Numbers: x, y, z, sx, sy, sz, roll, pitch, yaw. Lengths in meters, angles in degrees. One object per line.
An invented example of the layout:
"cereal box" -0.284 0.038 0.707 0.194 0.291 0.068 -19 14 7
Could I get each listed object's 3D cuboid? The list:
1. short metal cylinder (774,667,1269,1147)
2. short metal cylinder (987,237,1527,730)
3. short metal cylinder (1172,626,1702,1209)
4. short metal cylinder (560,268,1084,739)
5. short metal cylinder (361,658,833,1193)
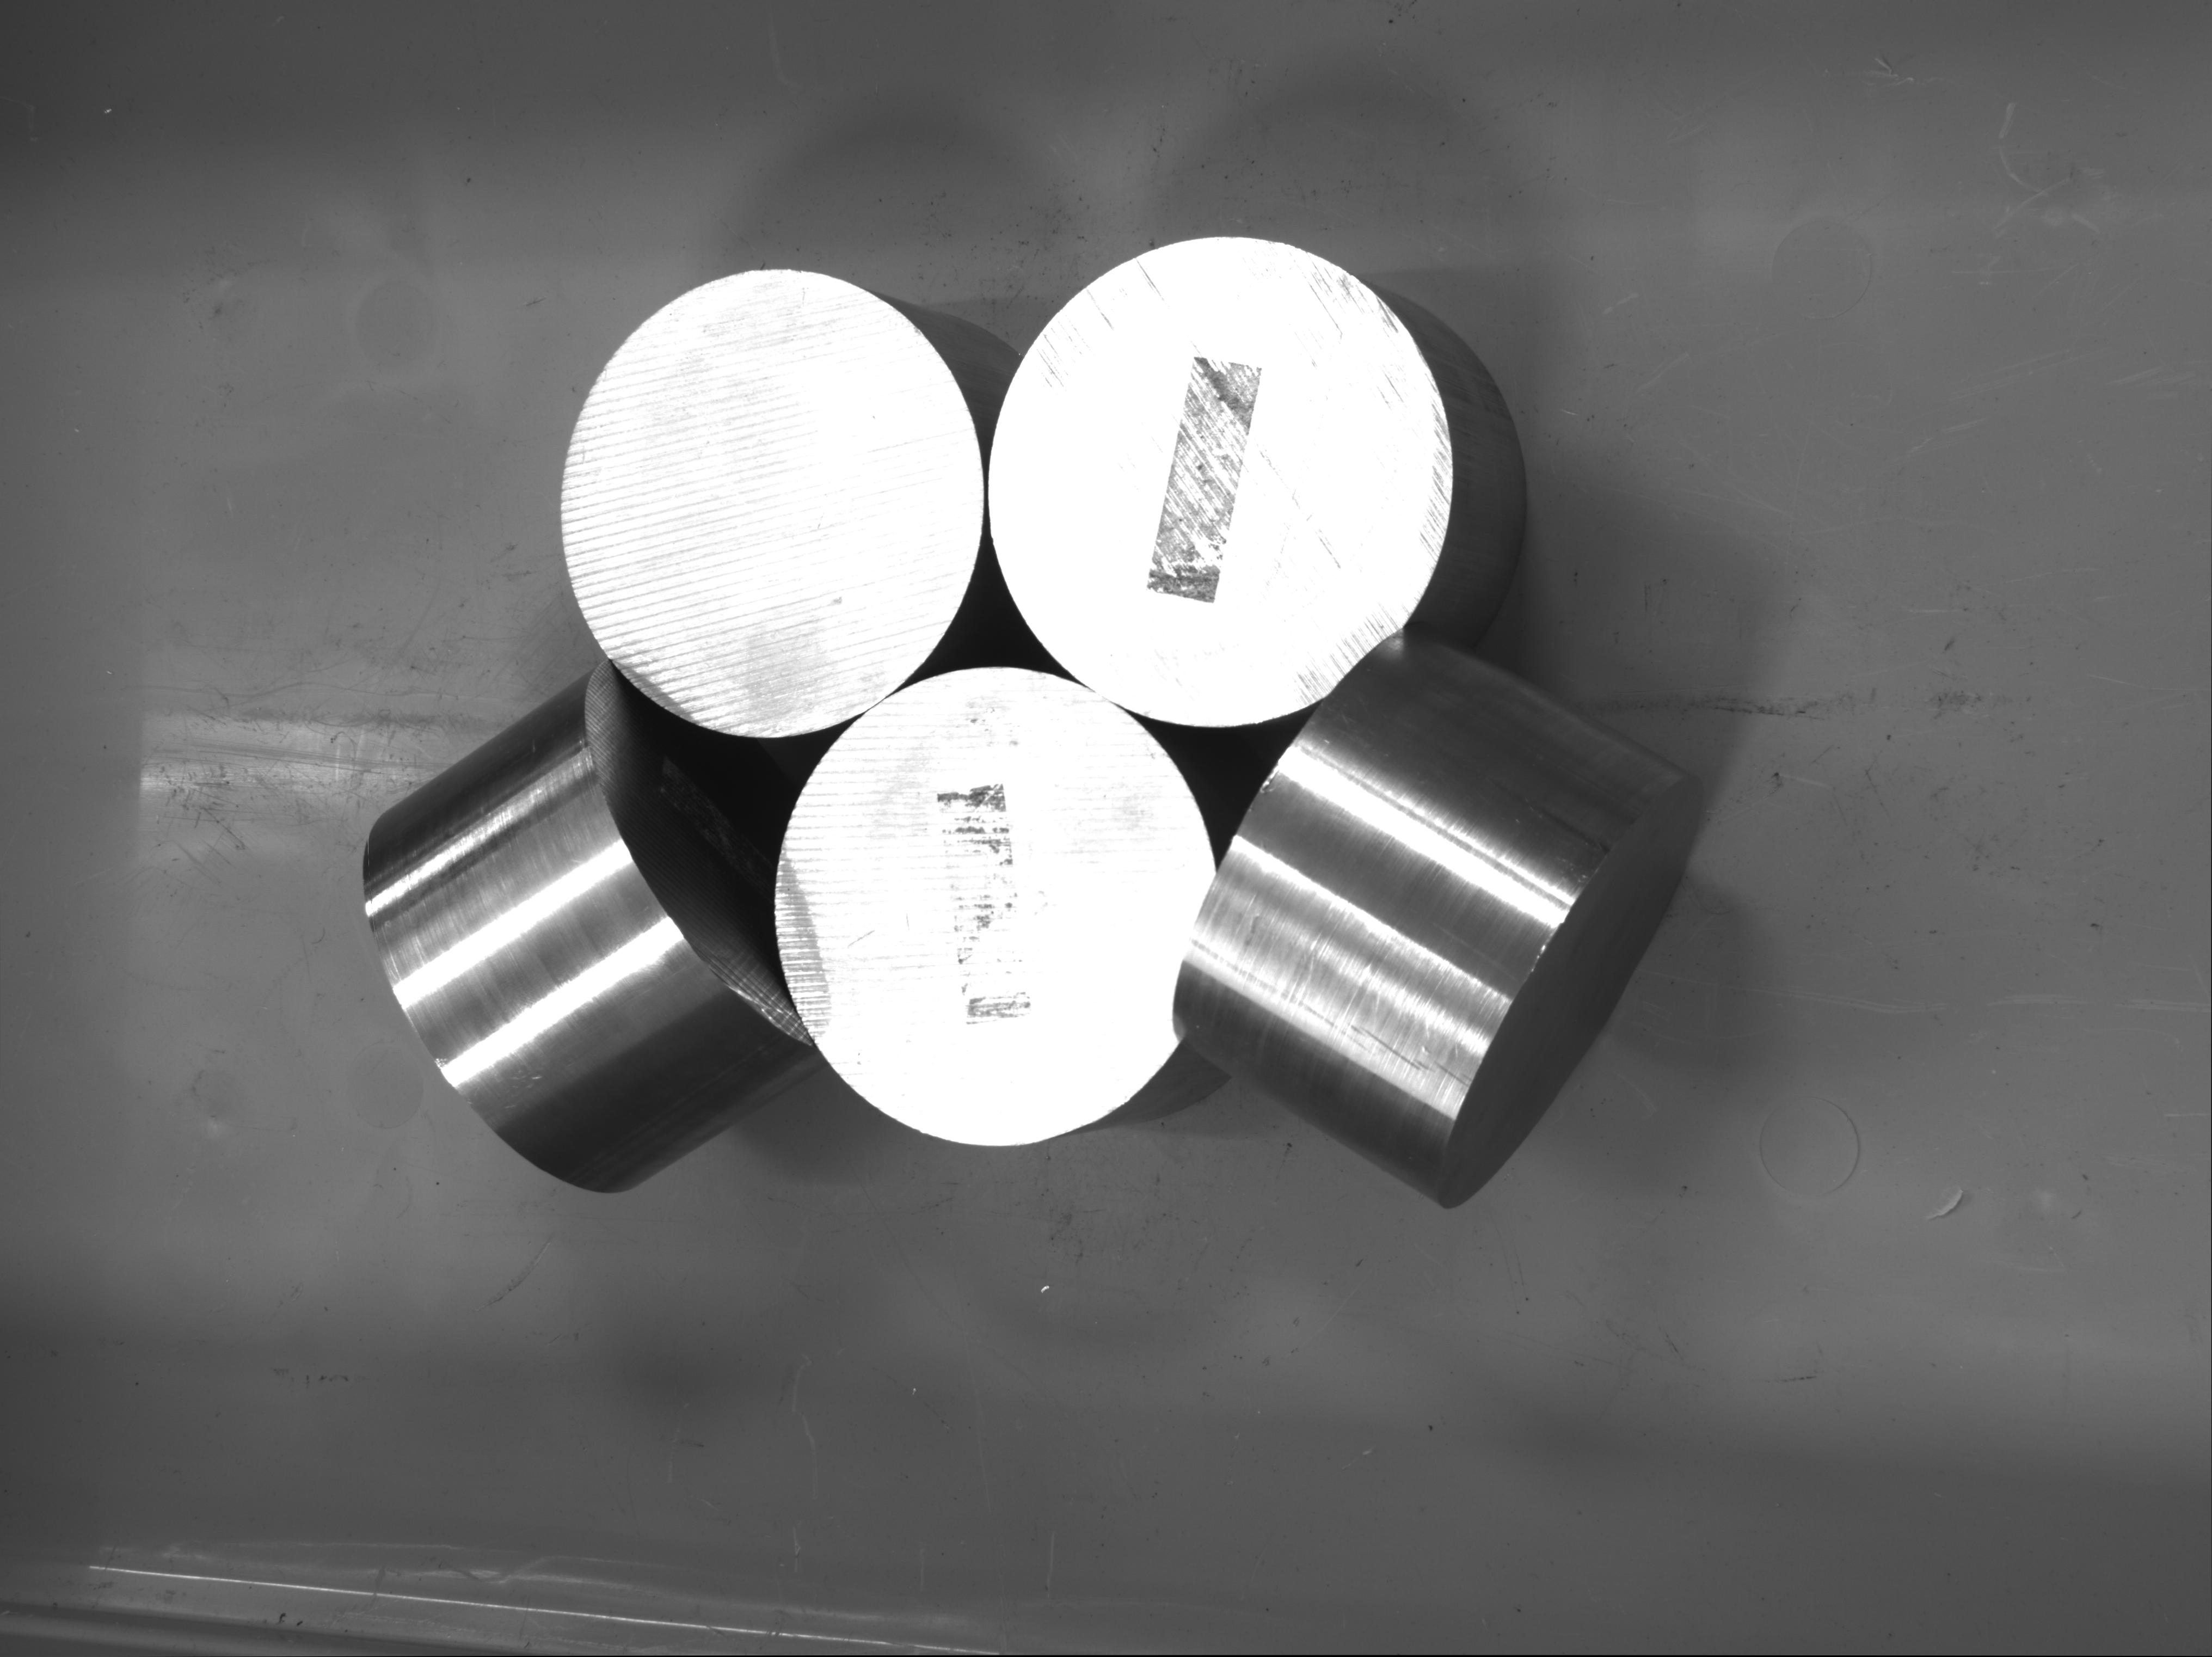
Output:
"short metal cylinder" -0.010 0.013 0.635 0.080 0.050 0.080 0 90 20
"short metal cylinder" 0.026 -0.056 0.622 0.080 0.050 0.080 0 90 20
"short metal cylinder" 0.054 0.014 0.596 0.050 0.080 0.080 31 100 18
"short metal cylinder" -0.049 -0.056 0.650 0.080 0.050 0.080 0 90 20
"short metal cylinder" -0.085 0.017 0.647 0.050 0.080 0.080 -32 79 17
